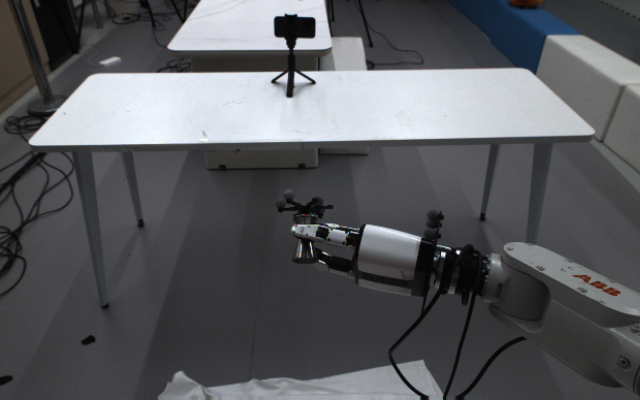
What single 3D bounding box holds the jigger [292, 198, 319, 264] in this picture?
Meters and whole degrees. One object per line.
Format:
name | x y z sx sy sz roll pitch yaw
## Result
jigger | -0.023 0.059 0.745 0.043 0.043 0.071 1 70 -2
